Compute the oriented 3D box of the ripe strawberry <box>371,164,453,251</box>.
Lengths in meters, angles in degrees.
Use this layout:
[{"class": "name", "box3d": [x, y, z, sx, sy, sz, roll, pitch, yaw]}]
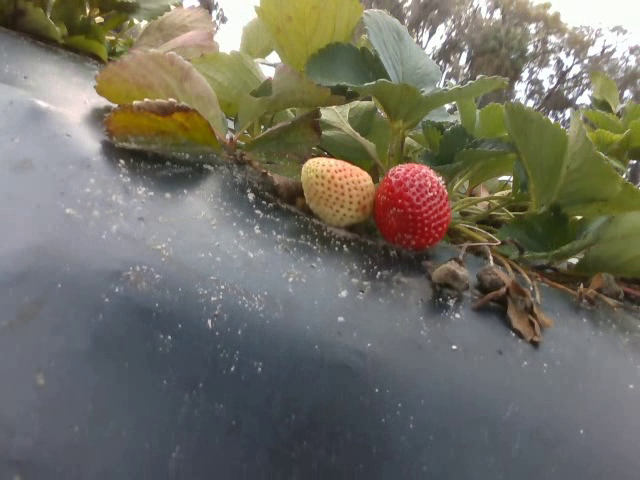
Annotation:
[{"class": "ripe strawberry", "box3d": [0.033, -0.015, 0.222, 0.033, 0.034, 0.042, -40, -31, 0]}]
